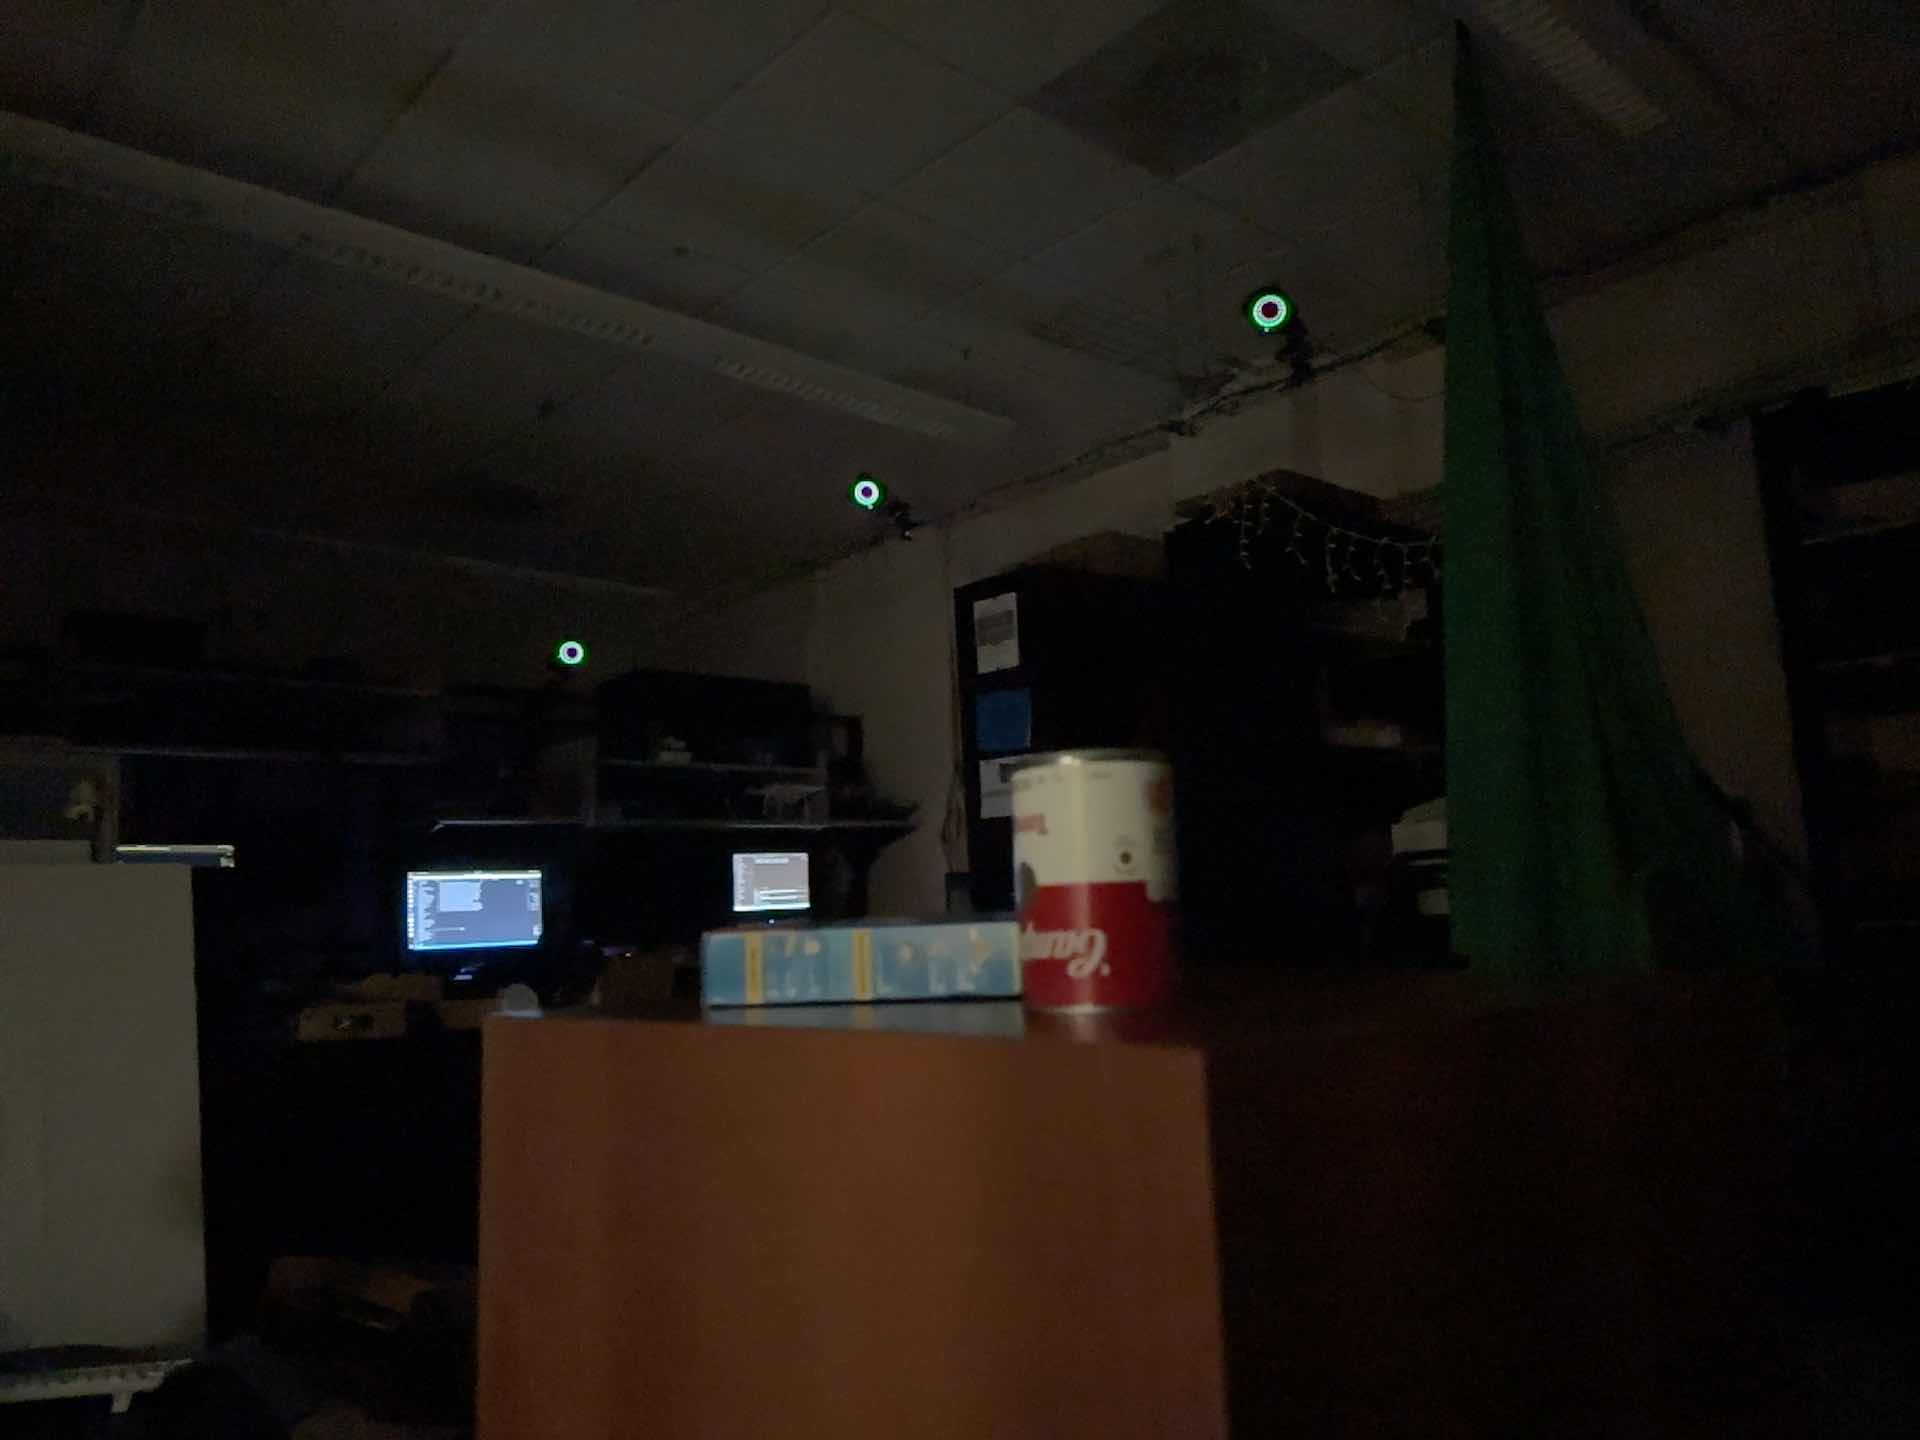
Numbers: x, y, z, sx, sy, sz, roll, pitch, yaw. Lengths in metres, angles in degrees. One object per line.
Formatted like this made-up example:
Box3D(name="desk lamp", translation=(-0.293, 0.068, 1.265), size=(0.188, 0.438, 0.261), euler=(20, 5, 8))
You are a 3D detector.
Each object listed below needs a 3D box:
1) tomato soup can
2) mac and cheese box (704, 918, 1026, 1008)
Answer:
Box3D(name="tomato soup can", translation=(0.057, 0.067, 0.547), size=(0.067, 0.102, 0.067), euler=(-3, -6, 0))
Box3D(name="mac and cheese box", translation=(-0.024, 0.121, 0.677), size=(0.181, 0.035, 0.088), euler=(-3, -5, 12))
